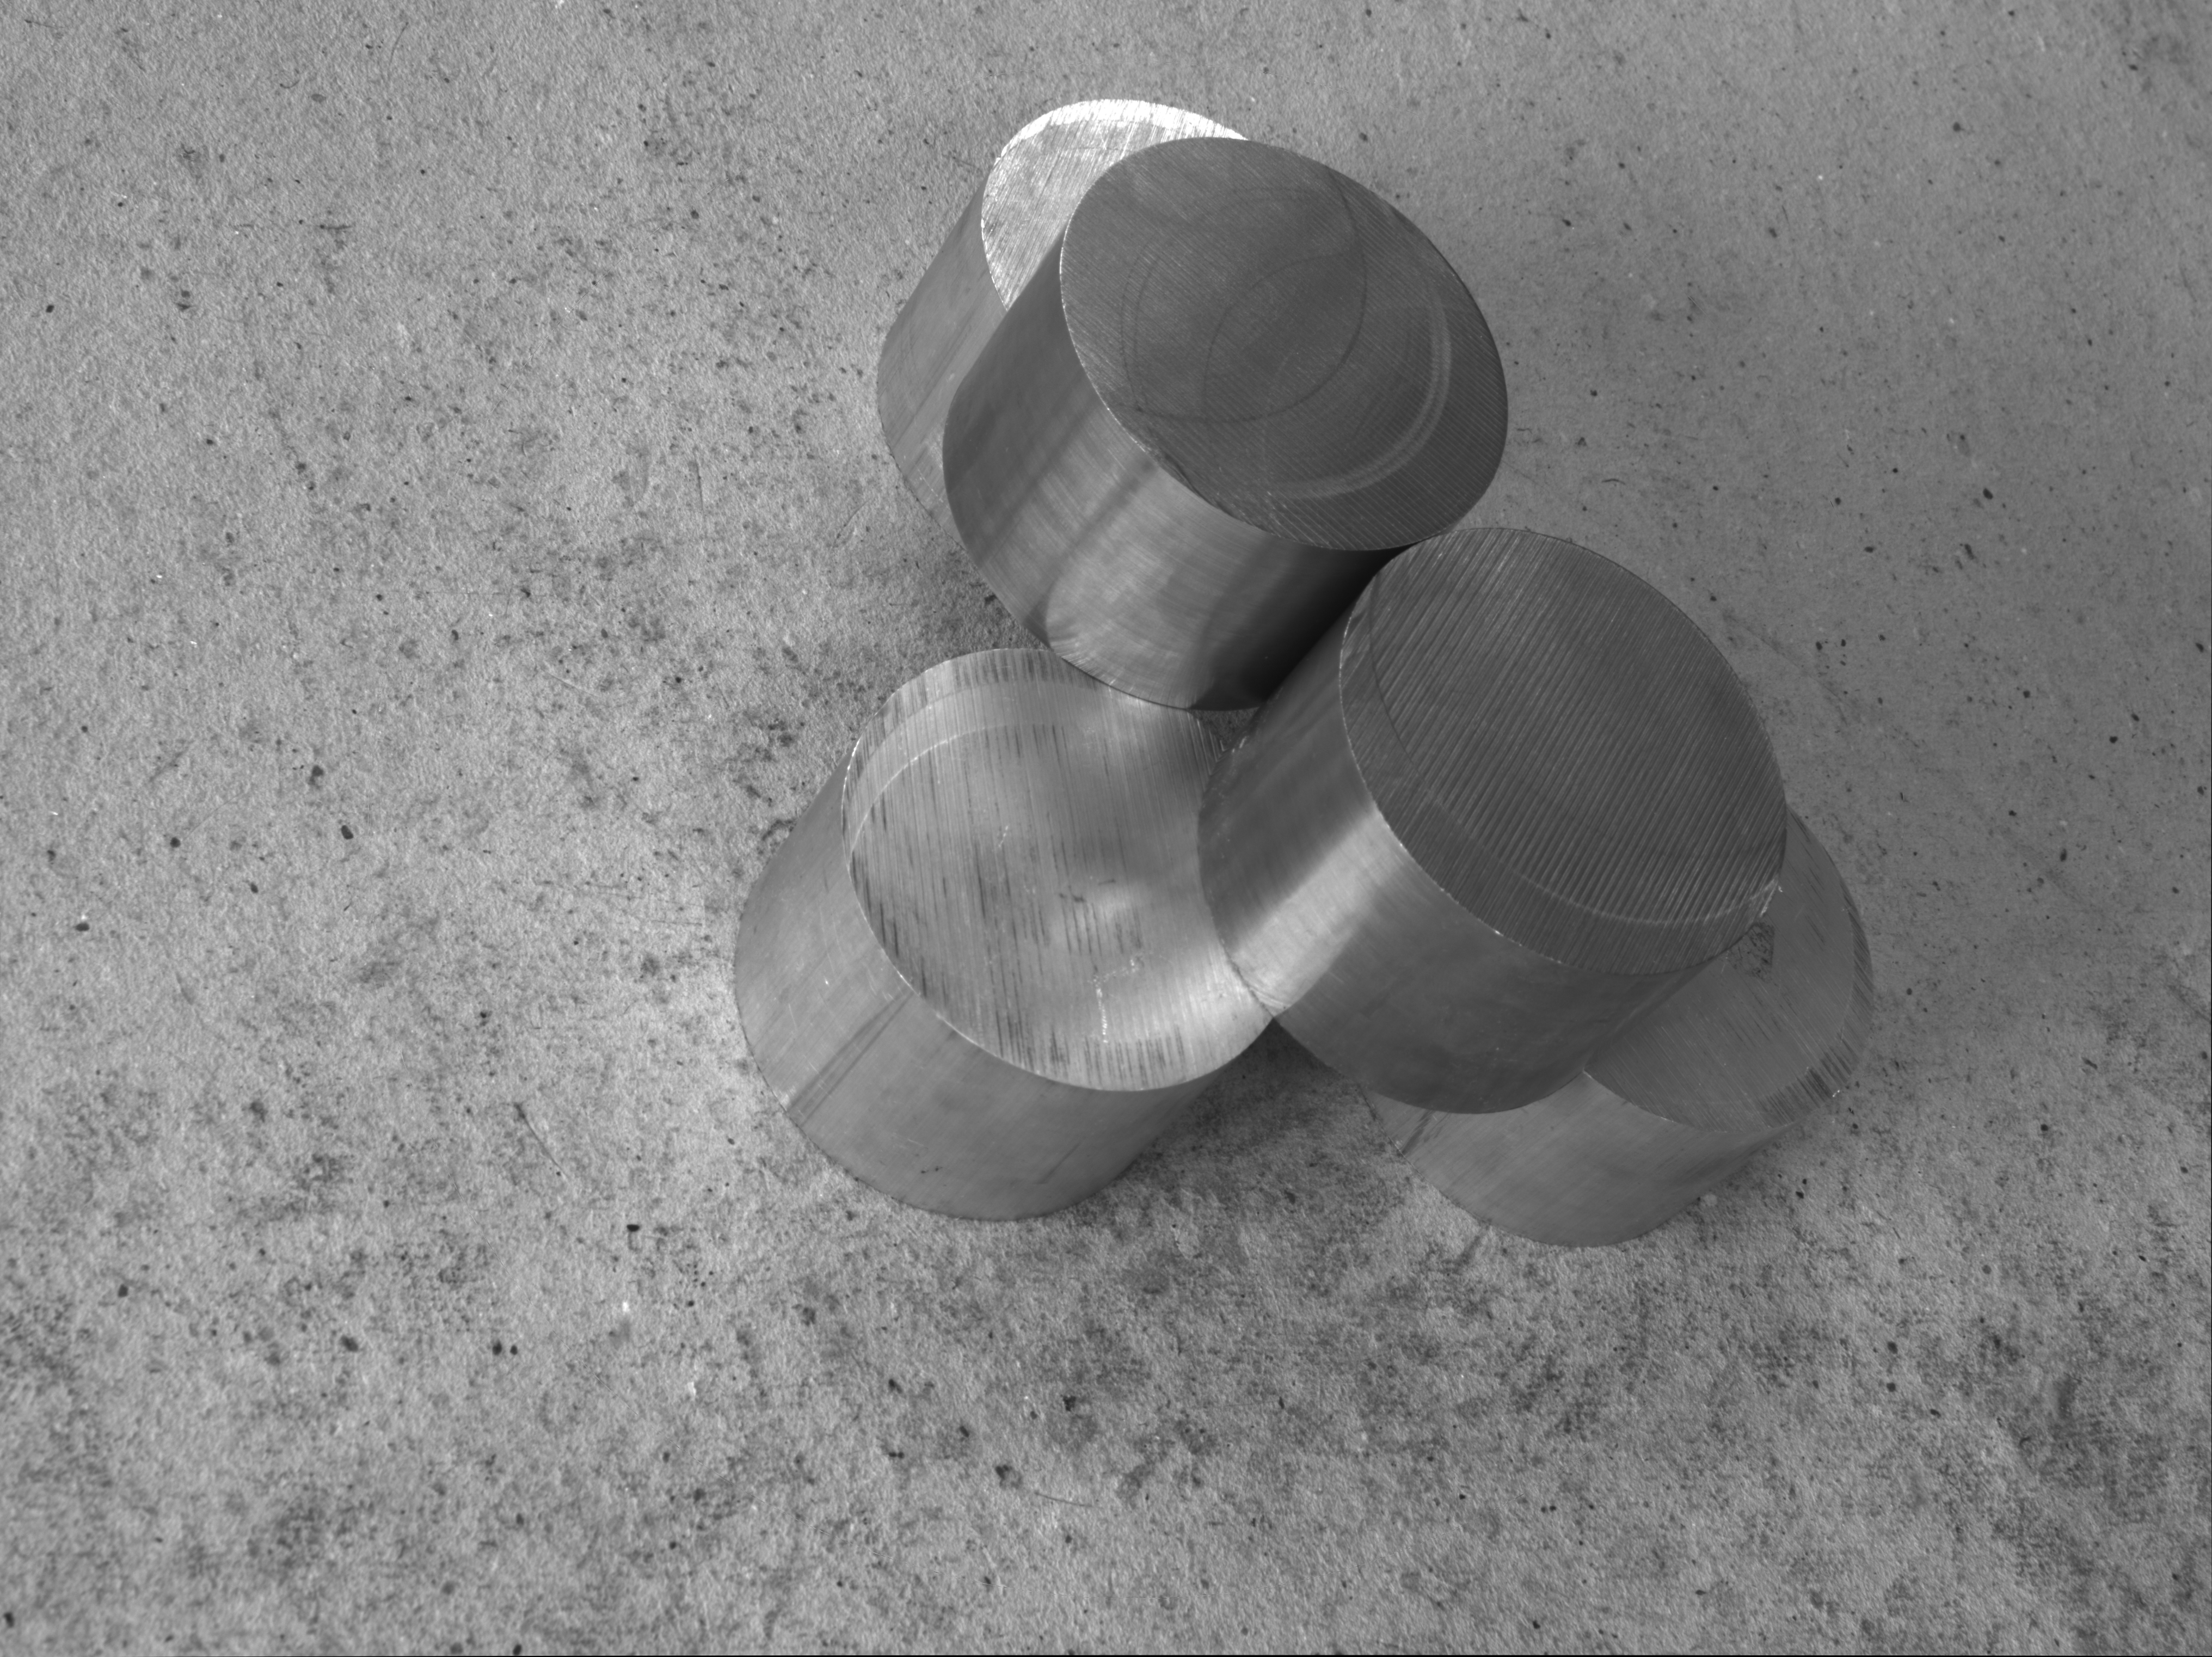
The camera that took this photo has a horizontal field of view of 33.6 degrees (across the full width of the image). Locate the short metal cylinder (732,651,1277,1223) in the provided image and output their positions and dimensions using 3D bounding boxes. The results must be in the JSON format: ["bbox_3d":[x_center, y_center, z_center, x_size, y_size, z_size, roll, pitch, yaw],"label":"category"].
[{"bbox_3d":[-0.015,0.018,0.603,0.080,0.050,0.080,14,56,-21],"label":"short metal cylinder"}]

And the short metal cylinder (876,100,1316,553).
[{"bbox_3d":[0.004,-0.087,0.678,0.080,0.050,0.080,14,56,-21],"label":"short metal cylinder"}]

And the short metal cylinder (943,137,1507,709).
[{"bbox_3d":[0.019,-0.067,0.609,0.080,0.050,0.080,13,56,-20],"label":"short metal cylinder"}]

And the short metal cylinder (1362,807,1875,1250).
[{"bbox_3d":[0.089,0.028,0.653,0.080,0.050,0.080,14,56,-21],"label":"short metal cylinder"}]

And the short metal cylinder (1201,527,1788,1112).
[{"bbox_3d":[0.062,-0.001,0.591,0.080,0.050,0.080,14,56,-21],"label":"short metal cylinder"}]
